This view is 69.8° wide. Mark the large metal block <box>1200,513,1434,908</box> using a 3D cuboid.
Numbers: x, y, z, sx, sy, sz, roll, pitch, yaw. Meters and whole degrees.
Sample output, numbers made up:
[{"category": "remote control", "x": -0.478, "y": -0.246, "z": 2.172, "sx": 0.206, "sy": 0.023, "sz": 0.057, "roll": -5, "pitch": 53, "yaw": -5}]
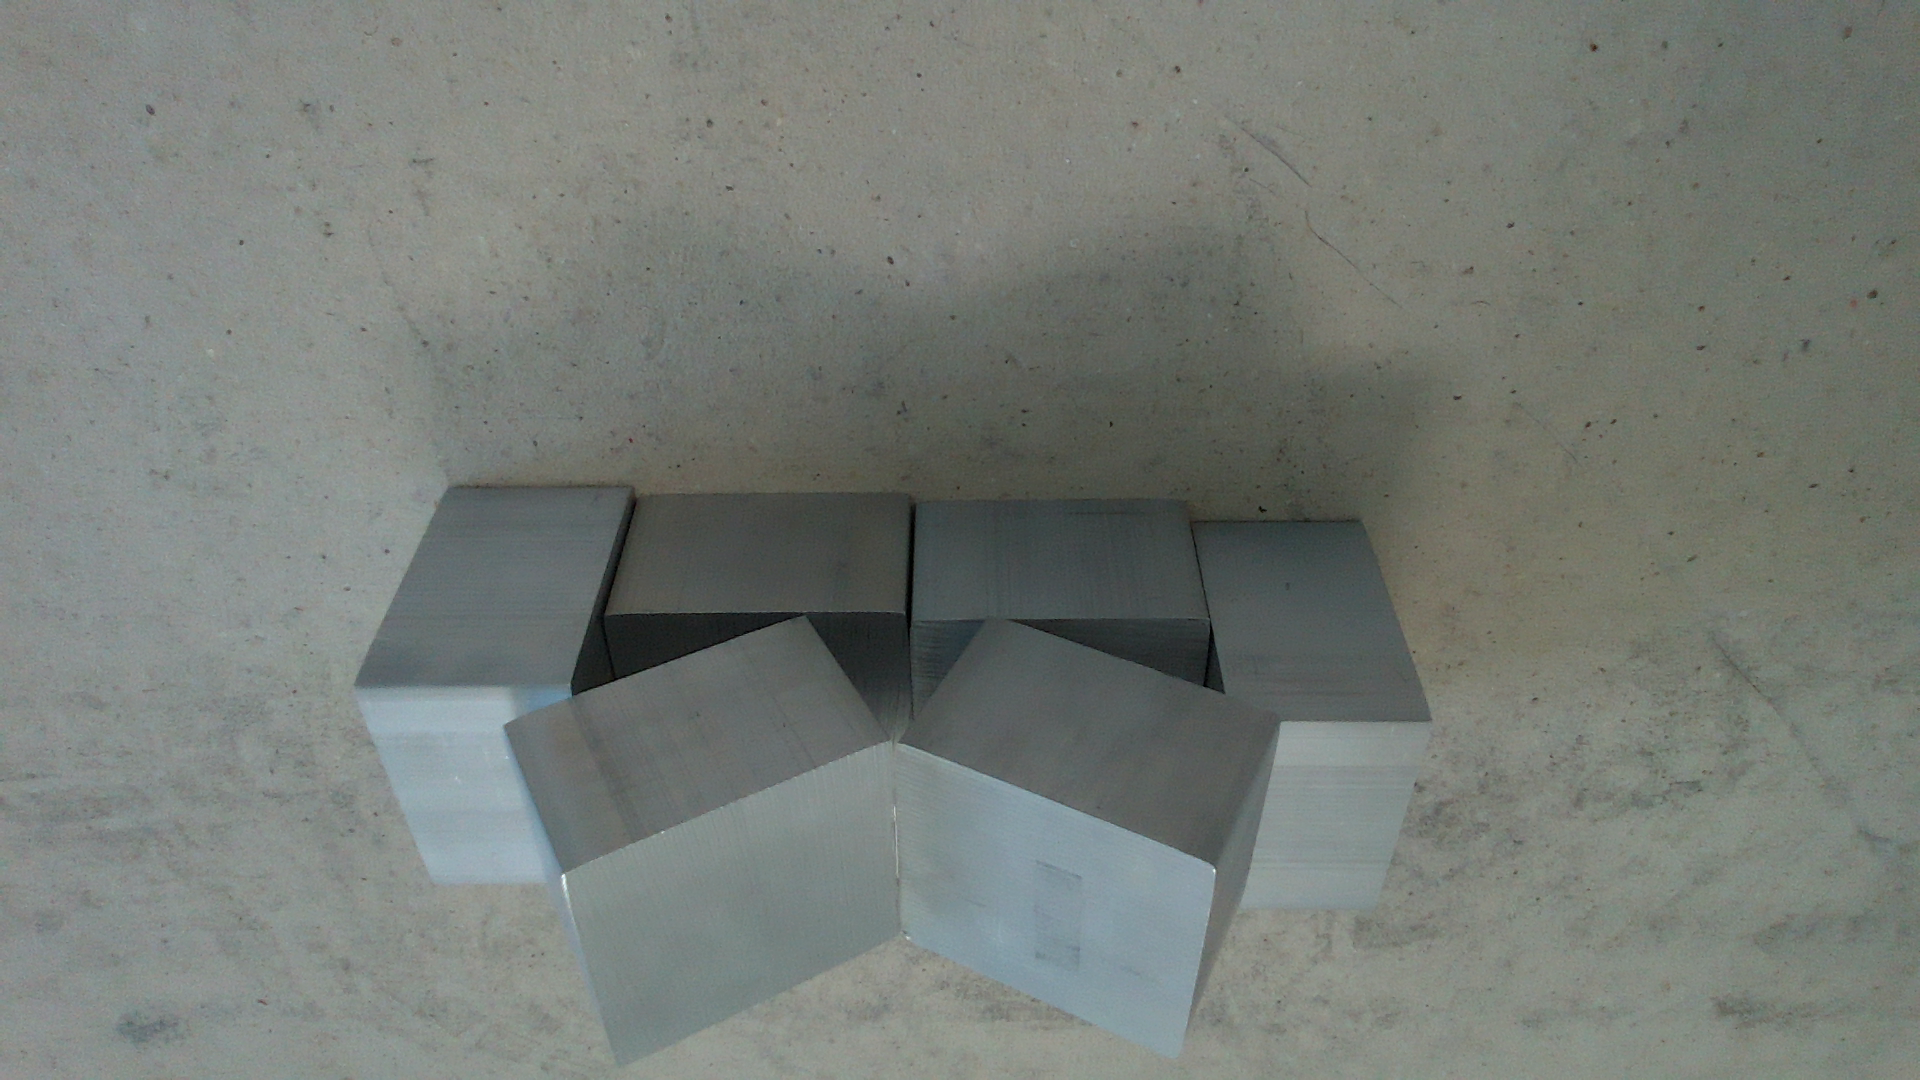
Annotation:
[{"category": "large metal block", "x": 0.093, "y": 0.049, "z": 0.398, "sx": 0.050, "sy": 0.080, "sz": 0.080, "roll": -1, "pitch": 130, "yaw": 0}]

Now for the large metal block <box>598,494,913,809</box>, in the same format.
[{"category": "large metal block", "x": -0.054, "y": 0.033, "z": 0.402, "sx": 0.080, "sy": 0.050, "sz": 0.080, "roll": 0, "pitch": 130, "yaw": 0}]

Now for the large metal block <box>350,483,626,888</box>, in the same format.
[{"category": "large metal block", "x": -0.121, "y": 0.040, "z": 0.387, "sx": 0.050, "sy": 0.080, "sz": 0.080, "roll": 0, "pitch": 129, "yaw": 1}]

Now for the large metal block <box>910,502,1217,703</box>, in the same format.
[{"category": "large metal block", "x": 0.027, "y": 0.036, "z": 0.403, "sx": 0.080, "sy": 0.050, "sz": 0.080, "roll": 0, "pitch": 130, "yaw": 0}]

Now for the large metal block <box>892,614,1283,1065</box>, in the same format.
[{"category": "large metal block", "x": 0.030, "y": 0.076, "z": 0.353, "sx": 0.080, "sy": 0.050, "sz": 0.080, "roll": 18, "pitch": 133, "yaw": 19}]

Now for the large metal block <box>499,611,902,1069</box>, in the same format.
[{"category": "large metal block", "x": -0.063, "y": 0.076, "z": 0.351, "sx": 0.080, "sy": 0.050, "sz": 0.080, "roll": -20, "pitch": 134, "yaw": -22}]
